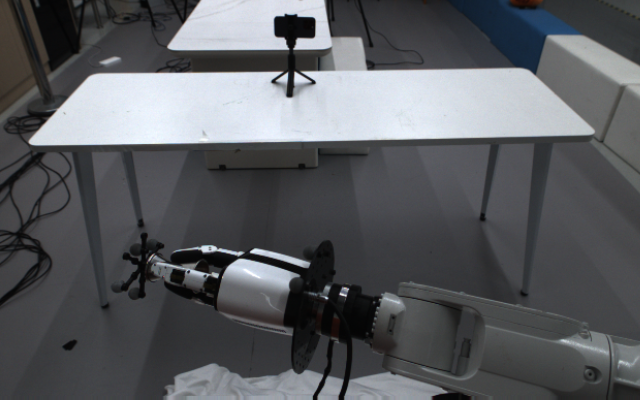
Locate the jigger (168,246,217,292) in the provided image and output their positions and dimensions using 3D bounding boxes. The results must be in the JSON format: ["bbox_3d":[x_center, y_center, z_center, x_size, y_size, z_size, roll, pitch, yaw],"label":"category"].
[{"bbox_3d":[-0.178,0.089,0.622,0.071,0.043,0.043,7,35,15],"label":"jigger"}]
